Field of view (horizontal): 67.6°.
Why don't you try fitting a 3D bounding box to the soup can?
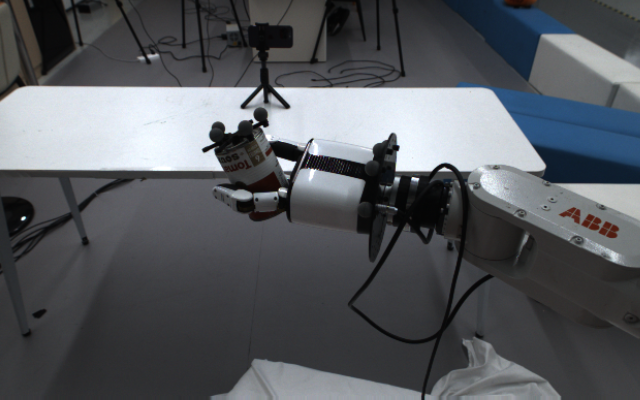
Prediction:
[{"bbox_3d":[-0.080,-0.033,0.617,0.067,0.101,0.067,-22,24,10],"label":"soup can"}]
